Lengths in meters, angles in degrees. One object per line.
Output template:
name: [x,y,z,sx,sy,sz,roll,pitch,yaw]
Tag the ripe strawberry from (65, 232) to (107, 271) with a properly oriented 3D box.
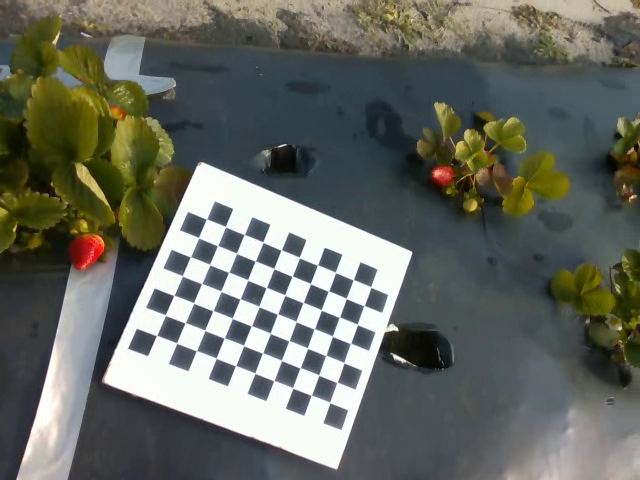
ripe strawberry: [-0.247,0.015,0.645,0.050,0.055,0.036,18,-30,-14]
